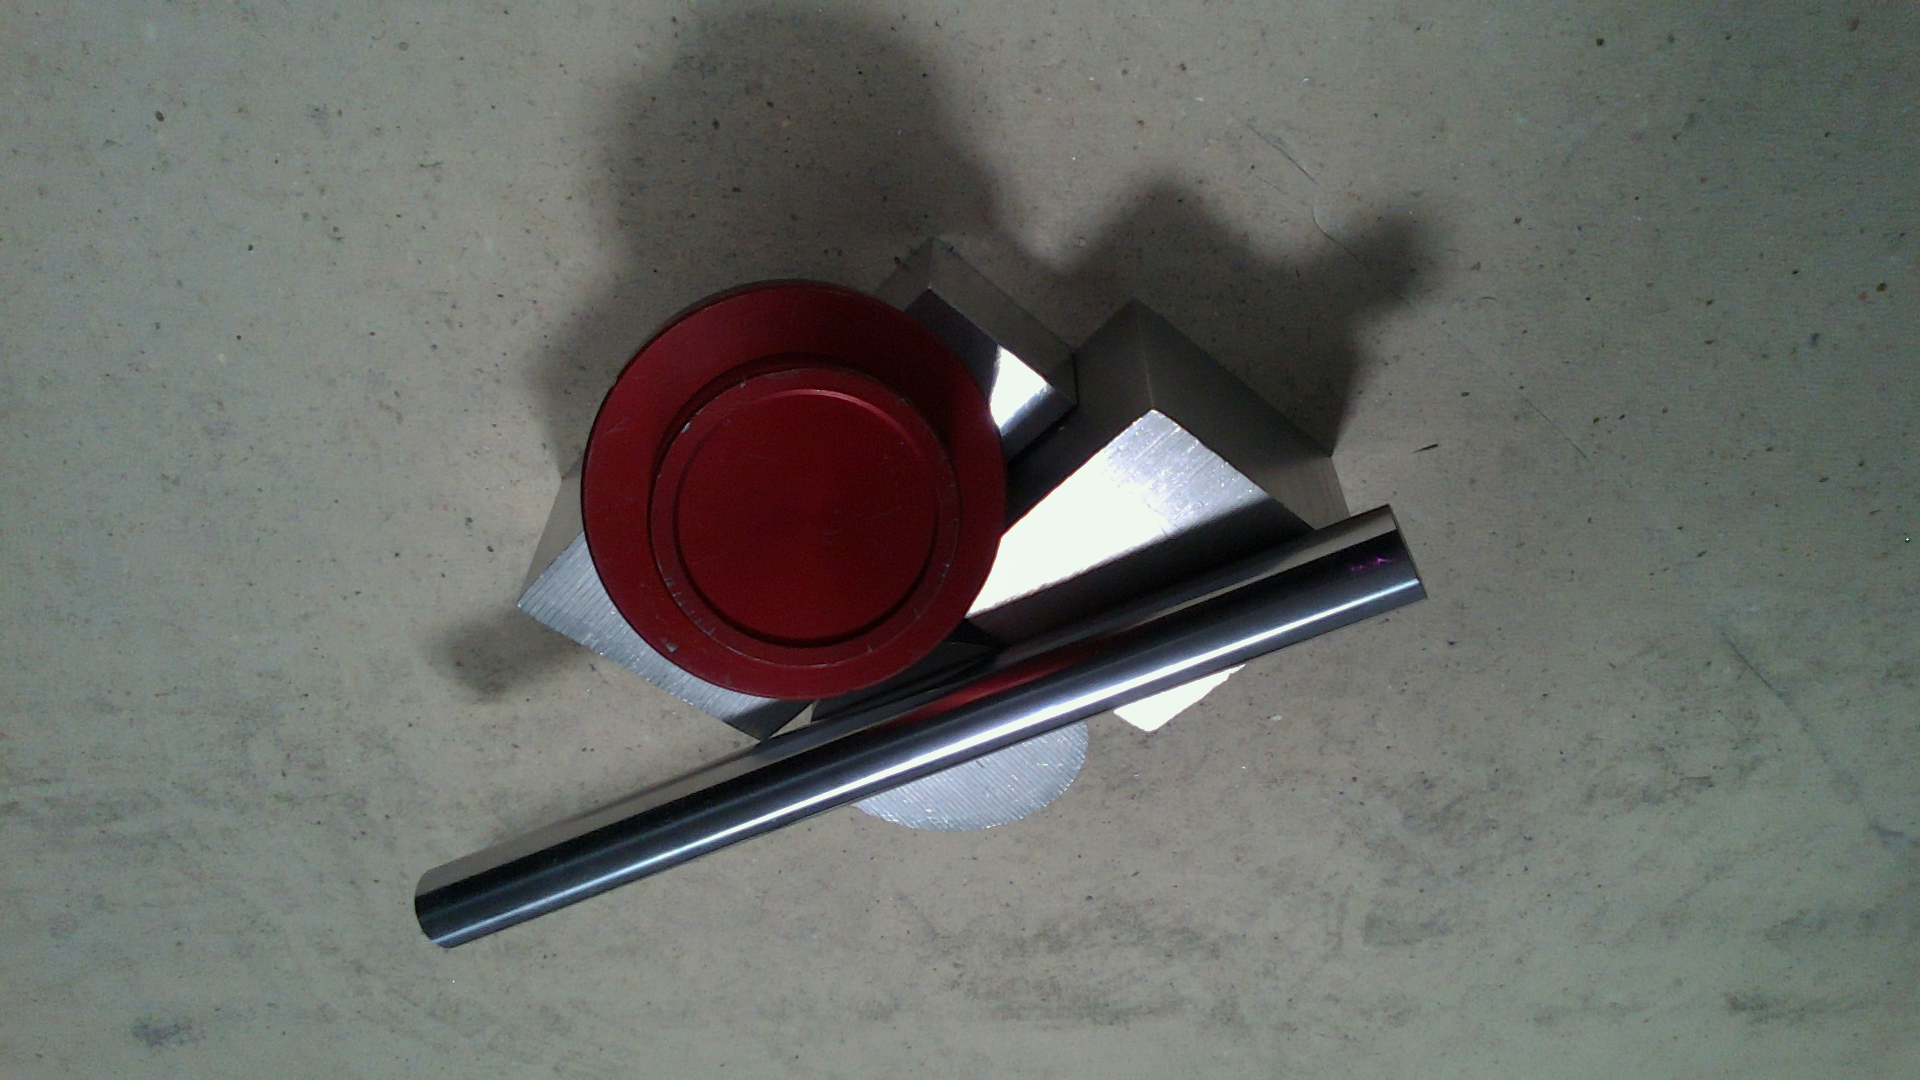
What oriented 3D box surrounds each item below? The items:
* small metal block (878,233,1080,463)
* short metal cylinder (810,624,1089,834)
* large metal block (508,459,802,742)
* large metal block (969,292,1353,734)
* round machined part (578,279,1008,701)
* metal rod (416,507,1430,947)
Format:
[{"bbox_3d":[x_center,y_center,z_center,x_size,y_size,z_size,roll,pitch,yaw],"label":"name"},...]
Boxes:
[{"bbox_3d":[-0.005,-0.041,0.355,0.050,0.025,0.050,35,122,-26],"label":"small metal block"},{"bbox_3d":[-0.003,0.042,0.409,0.080,0.050,0.080,0,130,0],"label":"short metal cylinder"},{"bbox_3d":[-0.059,-0.002,0.371,0.080,0.050,0.080,35,122,-26],"label":"large metal block"},{"bbox_3d":[0.049,-0.004,0.371,0.080,0.050,0.080,34,122,-25],"label":"large metal block"},{"bbox_3d":[-0.036,-0.009,0.314,0.098,0.042,0.098,-3,104,-11],"label":"round machined part"},{"bbox_3d":[-0.024,0.057,0.373,0.299,0.025,0.025,-22,127,18],"label":"metal rod"}]
